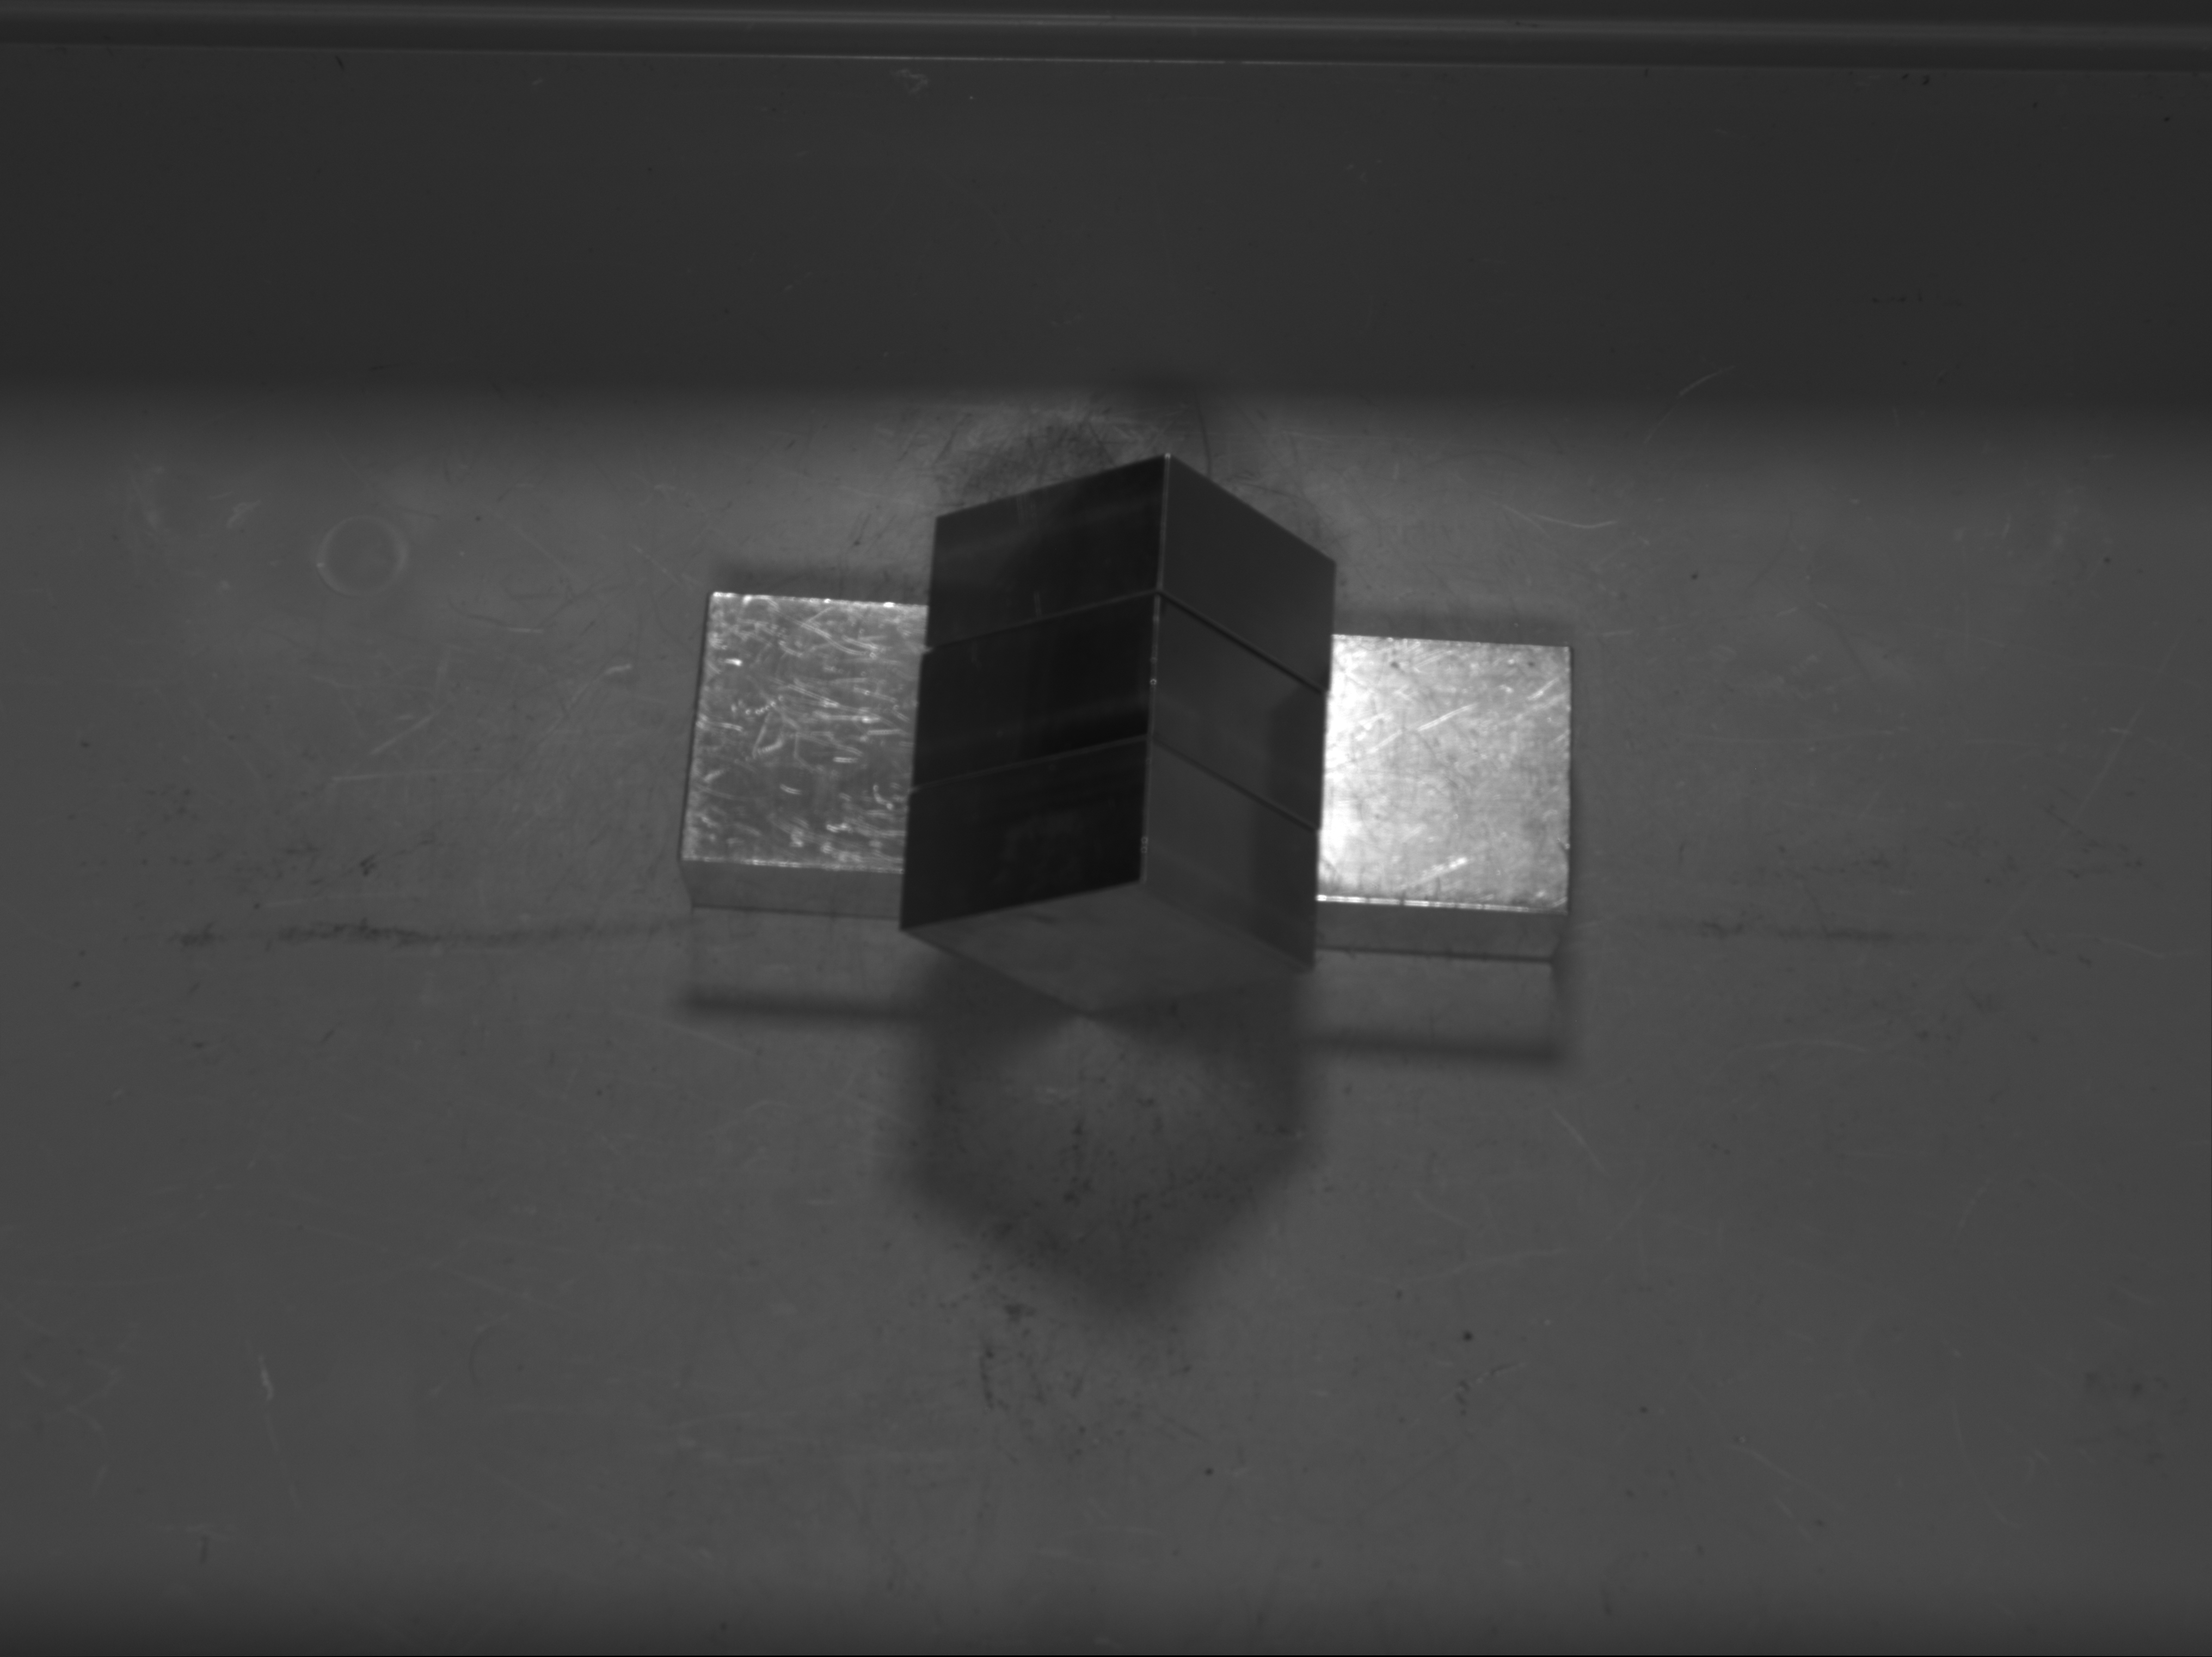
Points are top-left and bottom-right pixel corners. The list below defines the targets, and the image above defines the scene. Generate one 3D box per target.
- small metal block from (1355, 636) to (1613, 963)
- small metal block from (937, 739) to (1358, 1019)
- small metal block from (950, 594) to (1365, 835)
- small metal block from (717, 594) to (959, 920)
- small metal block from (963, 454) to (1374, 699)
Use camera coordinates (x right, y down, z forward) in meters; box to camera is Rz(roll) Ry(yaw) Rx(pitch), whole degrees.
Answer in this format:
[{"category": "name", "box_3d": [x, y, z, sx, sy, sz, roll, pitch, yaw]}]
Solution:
[{"category": "small metal block", "box_3d": [0.063, -0.005, 0.646, 0.050, 0.025, 0.050, 3, 70, 1]}, {"category": "small metal block", "box_3d": [0.008, 0.010, 0.616, 0.050, 0.050, 0.025, -12, 64, 35]}, {"category": "small metal block", "box_3d": [0.009, -0.014, 0.625, 0.050, 0.050, 0.025, -12, 64, 35]}, {"category": "small metal block", "box_3d": [-0.040, -0.012, 0.648, 0.050, 0.025, 0.050, 4, 70, 1]}, {"category": "small metal block", "box_3d": [0.011, -0.038, 0.633, 0.050, 0.050, 0.025, -12, 64, 35]}]
